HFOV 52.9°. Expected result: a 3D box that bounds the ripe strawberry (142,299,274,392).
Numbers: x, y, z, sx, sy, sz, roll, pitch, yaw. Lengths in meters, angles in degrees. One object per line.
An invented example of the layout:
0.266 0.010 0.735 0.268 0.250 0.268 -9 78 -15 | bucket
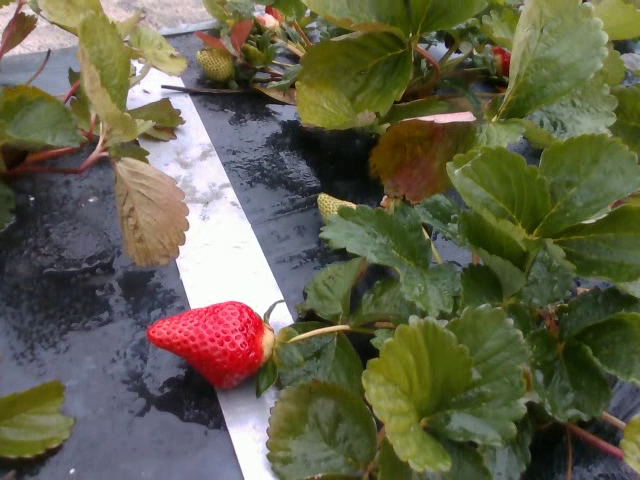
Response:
-0.046 0.040 0.259 0.051 0.042 0.037 9 -20 -22 | ripe strawberry
